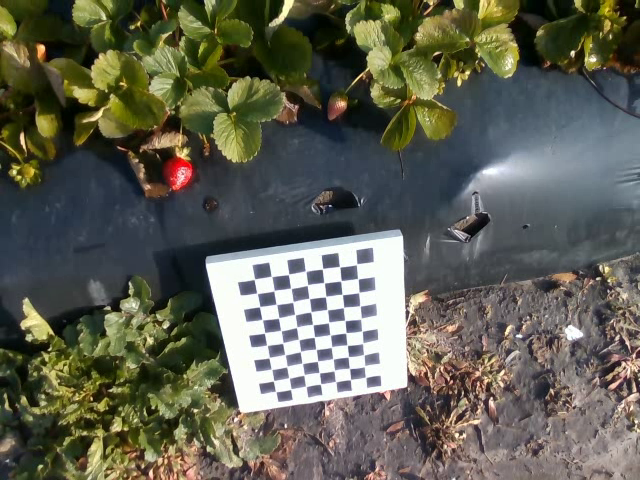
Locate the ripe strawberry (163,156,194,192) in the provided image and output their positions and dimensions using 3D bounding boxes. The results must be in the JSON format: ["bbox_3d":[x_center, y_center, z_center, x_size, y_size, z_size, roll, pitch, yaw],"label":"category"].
[{"bbox_3d":[-0.168,-0.070,0.774,0.047,0.054,0.037,10,-18,-13],"label":"ripe strawberry"}]
